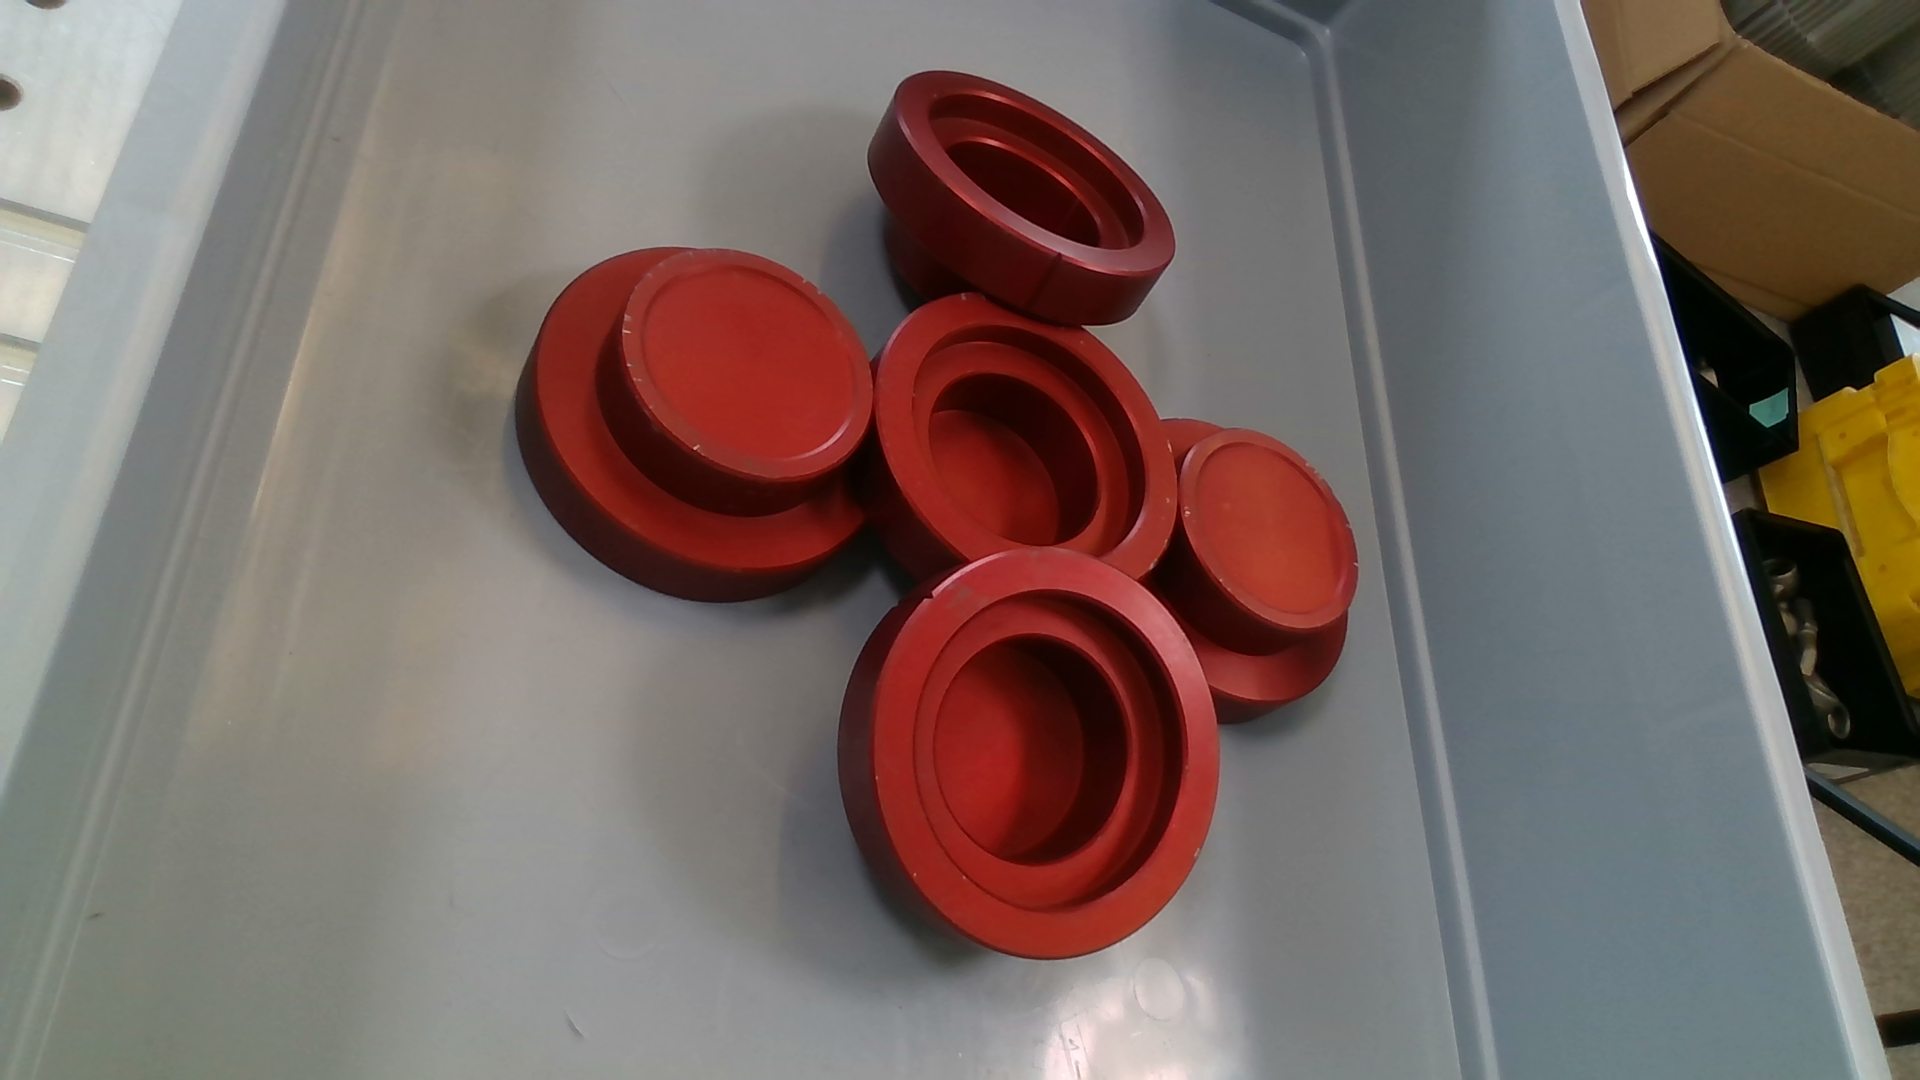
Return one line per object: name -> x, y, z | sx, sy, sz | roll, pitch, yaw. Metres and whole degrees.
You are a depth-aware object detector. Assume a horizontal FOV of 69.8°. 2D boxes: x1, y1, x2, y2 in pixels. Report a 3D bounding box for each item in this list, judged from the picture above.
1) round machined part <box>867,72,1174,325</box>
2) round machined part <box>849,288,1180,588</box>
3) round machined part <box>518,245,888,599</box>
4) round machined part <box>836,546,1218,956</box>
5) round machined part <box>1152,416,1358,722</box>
round machined part -> 0.015, -0.100, 0.433 | 0.098, 0.042, 0.098 | 21, 39, -18
round machined part -> 0.011, -0.020, 0.398 | 0.098, 0.042, 0.098 | 14, 59, -25
round machined part -> -0.062, -0.037, 0.363 | 0.098, 0.042, 0.098 | 14, 59, -25
round machined part -> 0.014, 0.053, 0.350 | 0.098, 0.042, 0.098 | 5, 79, -27
round machined part -> 0.084, 0.004, 0.430 | 0.098, 0.042, 0.098 | 14, 59, -25
